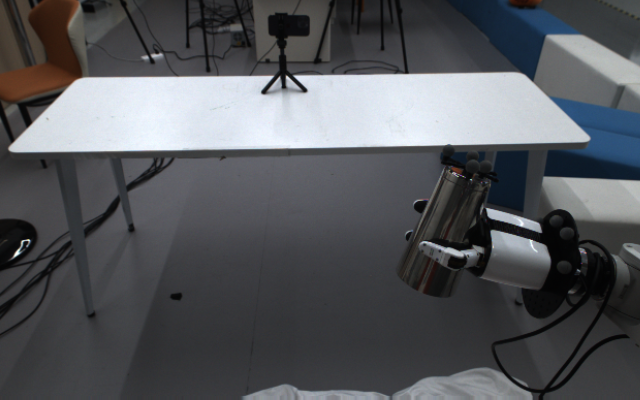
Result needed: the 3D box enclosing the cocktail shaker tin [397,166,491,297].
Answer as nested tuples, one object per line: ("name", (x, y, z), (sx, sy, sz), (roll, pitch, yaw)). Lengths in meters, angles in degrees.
("cocktail shaker tin", (0.181, 0.040, 0.690), (0.093, 0.170, 0.093), (14, 19, -5))
